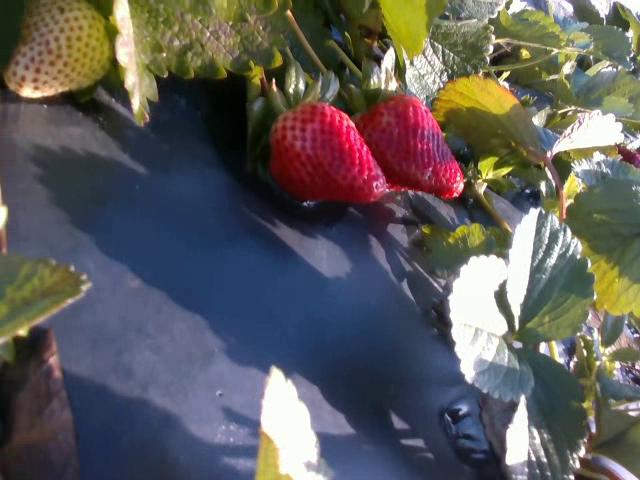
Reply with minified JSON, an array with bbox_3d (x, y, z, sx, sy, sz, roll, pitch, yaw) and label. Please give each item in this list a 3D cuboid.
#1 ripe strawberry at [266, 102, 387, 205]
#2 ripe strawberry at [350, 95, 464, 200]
[{"bbox_3d":[0.005,-0.026,0.219,0.051,0.043,0.037,38,-26,11],"label":"ripe strawberry"},{"bbox_3d":[0.039,-0.034,0.262,0.052,0.057,0.046,-38,-19,-31],"label":"ripe strawberry"}]
